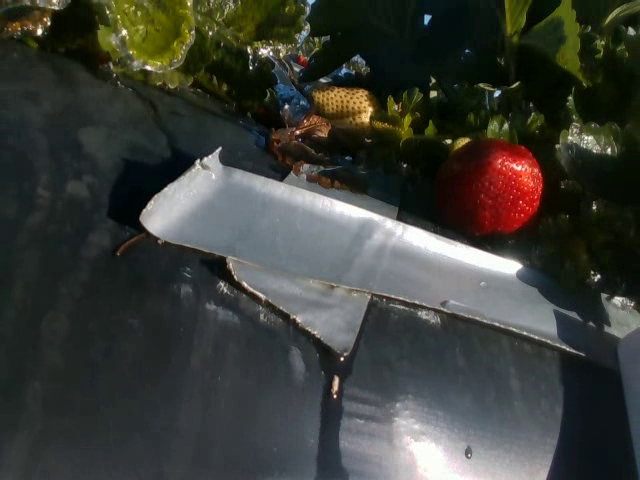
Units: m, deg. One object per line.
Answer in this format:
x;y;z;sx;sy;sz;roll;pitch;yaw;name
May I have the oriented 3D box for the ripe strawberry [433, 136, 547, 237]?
0.084;-0.023;0.285;0.057;0.061;0.065;-38;-8;2;ripe strawberry
